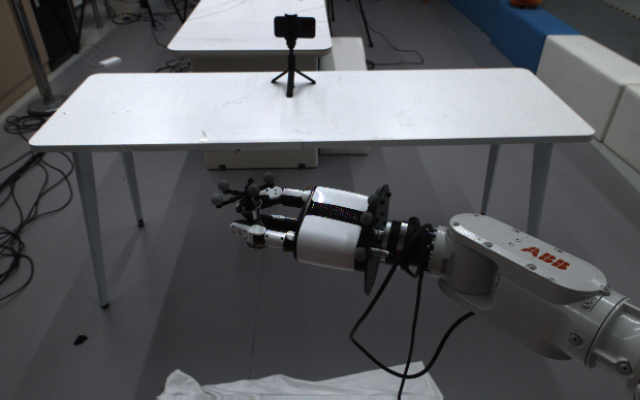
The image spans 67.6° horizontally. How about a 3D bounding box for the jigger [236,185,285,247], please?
[{"bbox_3d":[-0.097,0.035,0.725,0.043,0.071,0.043,-10,32,6],"label":"jigger"}]
